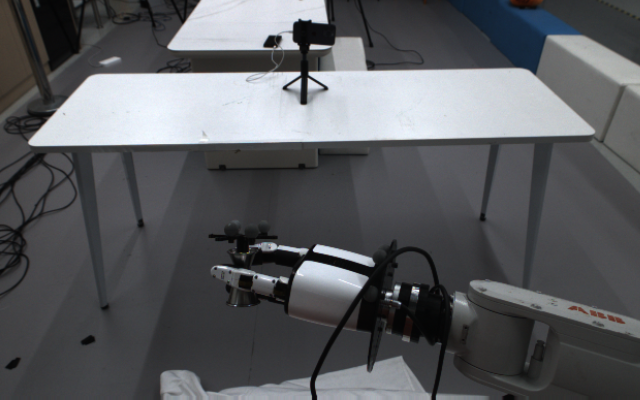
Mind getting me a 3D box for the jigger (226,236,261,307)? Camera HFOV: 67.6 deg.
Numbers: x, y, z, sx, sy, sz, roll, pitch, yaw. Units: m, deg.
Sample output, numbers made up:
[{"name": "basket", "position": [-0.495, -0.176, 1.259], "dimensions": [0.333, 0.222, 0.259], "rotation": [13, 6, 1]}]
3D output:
[{"name": "jigger", "position": [-0.097, 0.097, 0.619], "dimensions": [0.043, 0.071, 0.043], "rotation": [0, 2, 0]}]
